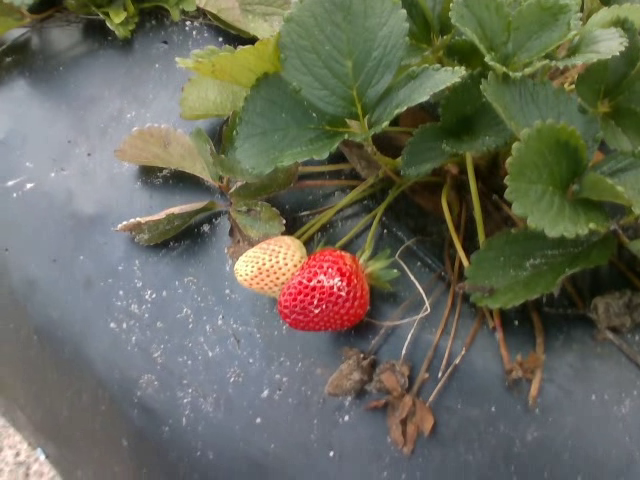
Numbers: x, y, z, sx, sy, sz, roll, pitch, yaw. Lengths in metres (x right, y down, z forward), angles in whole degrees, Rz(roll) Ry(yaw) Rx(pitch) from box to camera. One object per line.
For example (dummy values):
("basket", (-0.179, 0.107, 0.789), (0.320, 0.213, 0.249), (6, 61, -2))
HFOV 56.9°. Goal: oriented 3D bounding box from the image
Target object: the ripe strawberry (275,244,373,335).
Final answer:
("ripe strawberry", (0.000, 0.020, 0.225), (0.041, 0.034, 0.033), (-15, -20, -29))
